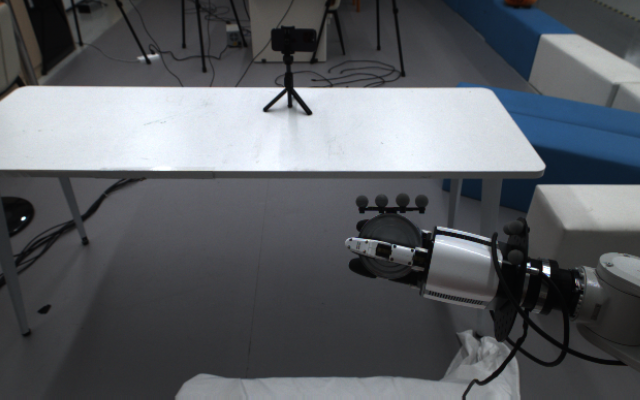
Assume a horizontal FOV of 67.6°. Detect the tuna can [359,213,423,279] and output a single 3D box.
[{"bbox_3d":[0.095,0.059,0.644,0.085,0.085,0.034,15,2,18],"label":"tuna can"}]
